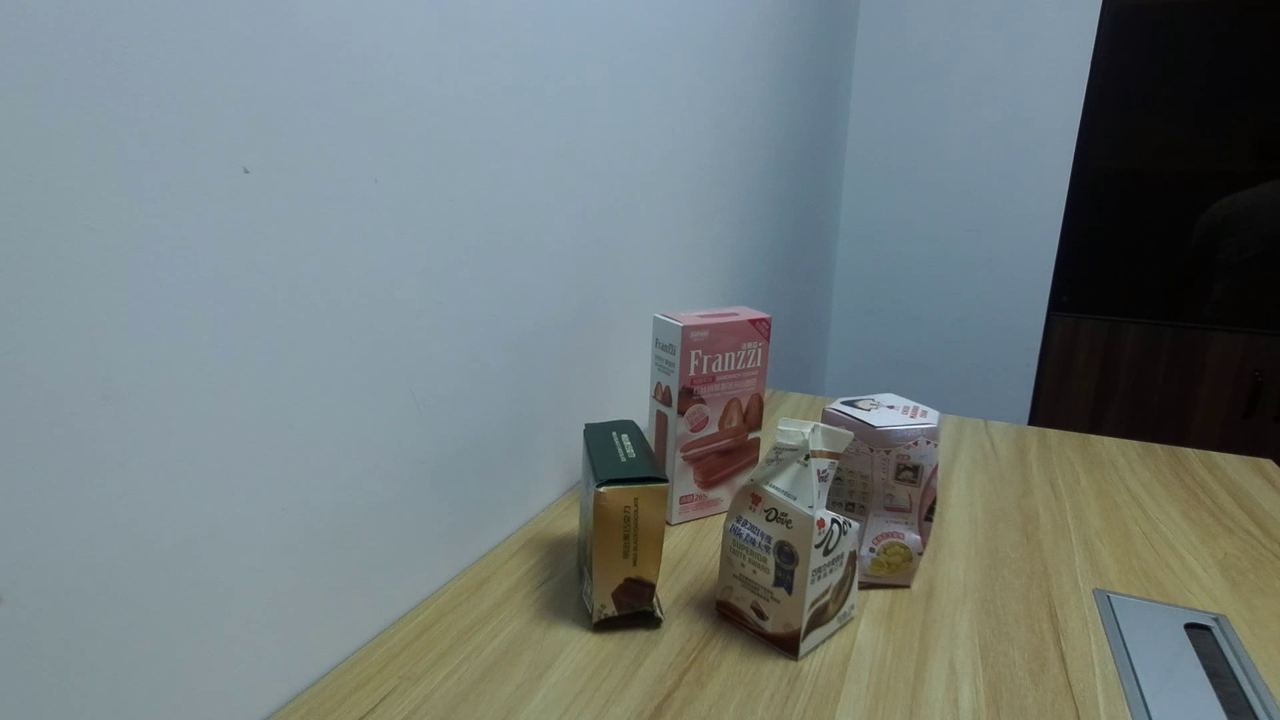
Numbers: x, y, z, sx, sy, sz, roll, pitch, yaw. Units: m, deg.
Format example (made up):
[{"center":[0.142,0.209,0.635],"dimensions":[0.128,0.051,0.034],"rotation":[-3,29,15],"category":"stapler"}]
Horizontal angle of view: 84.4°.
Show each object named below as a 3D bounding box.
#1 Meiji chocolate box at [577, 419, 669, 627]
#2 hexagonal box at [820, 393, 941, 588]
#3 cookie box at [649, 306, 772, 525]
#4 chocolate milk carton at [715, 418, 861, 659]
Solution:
[{"center":[-0.016,0.116,0.516],"dimensions":[0.058,0.116,0.122],"rotation":[0,13,-9],"category":"Meiji chocolate box"},{"center":[0.182,0.102,0.549],"dimensions":[0.093,0.134,0.088],"rotation":[-1,15,-12],"category":"hexagonal box"},{"center":[0.061,0.049,0.634],"dimensions":[0.096,0.184,0.048],"rotation":[-7,19,-29],"category":"cookie box"},{"center":[0.106,0.107,0.476],"dimensions":[0.076,0.155,0.073],"rotation":[-13,22,-43],"category":"chocolate milk carton"}]
